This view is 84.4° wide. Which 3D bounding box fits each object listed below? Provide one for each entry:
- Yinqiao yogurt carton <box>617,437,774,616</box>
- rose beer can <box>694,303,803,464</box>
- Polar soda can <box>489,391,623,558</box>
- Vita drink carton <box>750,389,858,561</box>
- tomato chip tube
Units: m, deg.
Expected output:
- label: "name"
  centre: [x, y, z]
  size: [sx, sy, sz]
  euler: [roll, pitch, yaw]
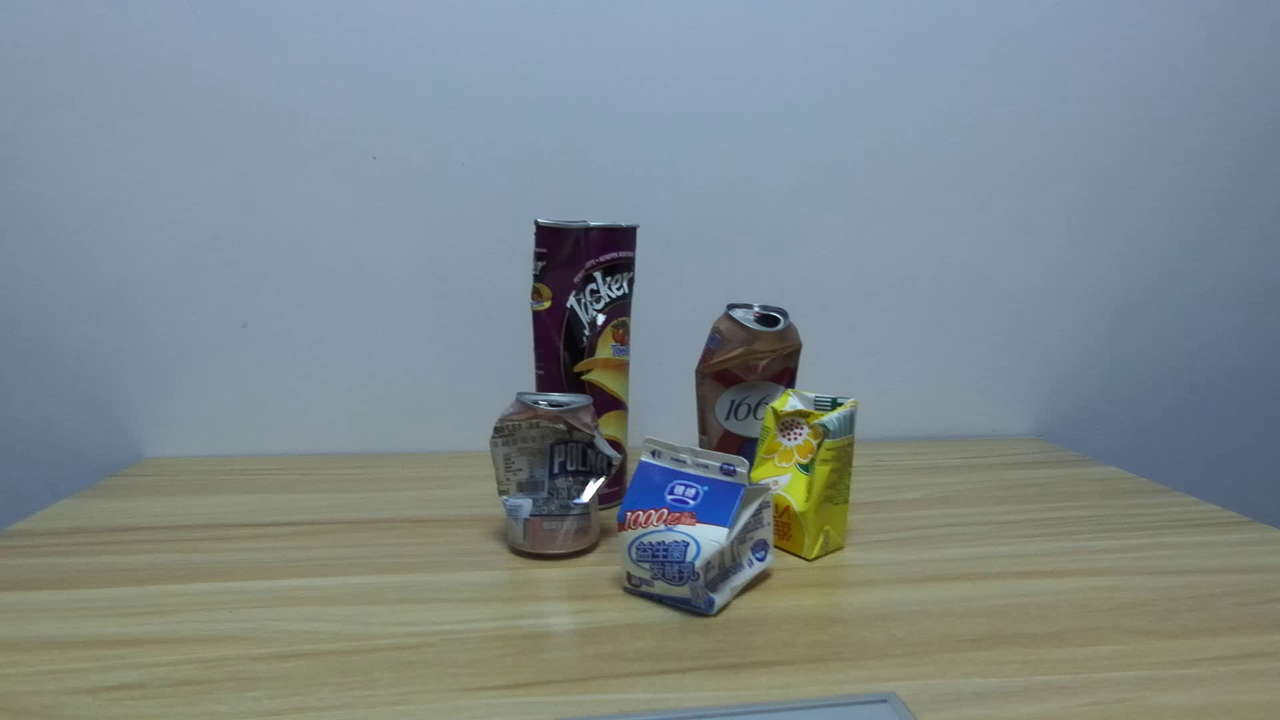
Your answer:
- label: "Yinqiao yogurt carton"
  centre: [0.034, 0.097, 0.435]
  size: [0.074, 0.097, 0.080]
  euler: [6, 18, 30]
- label: "rose beer can"
  centre: [0.091, 0.037, 0.603]
  size: [0.069, 0.168, 0.069]
  euler: [12, 18, 31]
- label: "Polar soda can"
  centre: [-0.059, 0.079, 0.500]
  size: [0.070, 0.114, 0.074]
  euler: [16, 21, 41]
- label: "Vita drink carton"
  centre: [0.115, 0.080, 0.514]
  size: [0.047, 0.109, 0.071]
  euler: [-3, 9, -39]
- label: "tomato chip tube"
  centre: [-0.046, 0.004, 0.588]
  size: [0.090, 0.235, 0.078]
  euler: [2, 10, -8]
